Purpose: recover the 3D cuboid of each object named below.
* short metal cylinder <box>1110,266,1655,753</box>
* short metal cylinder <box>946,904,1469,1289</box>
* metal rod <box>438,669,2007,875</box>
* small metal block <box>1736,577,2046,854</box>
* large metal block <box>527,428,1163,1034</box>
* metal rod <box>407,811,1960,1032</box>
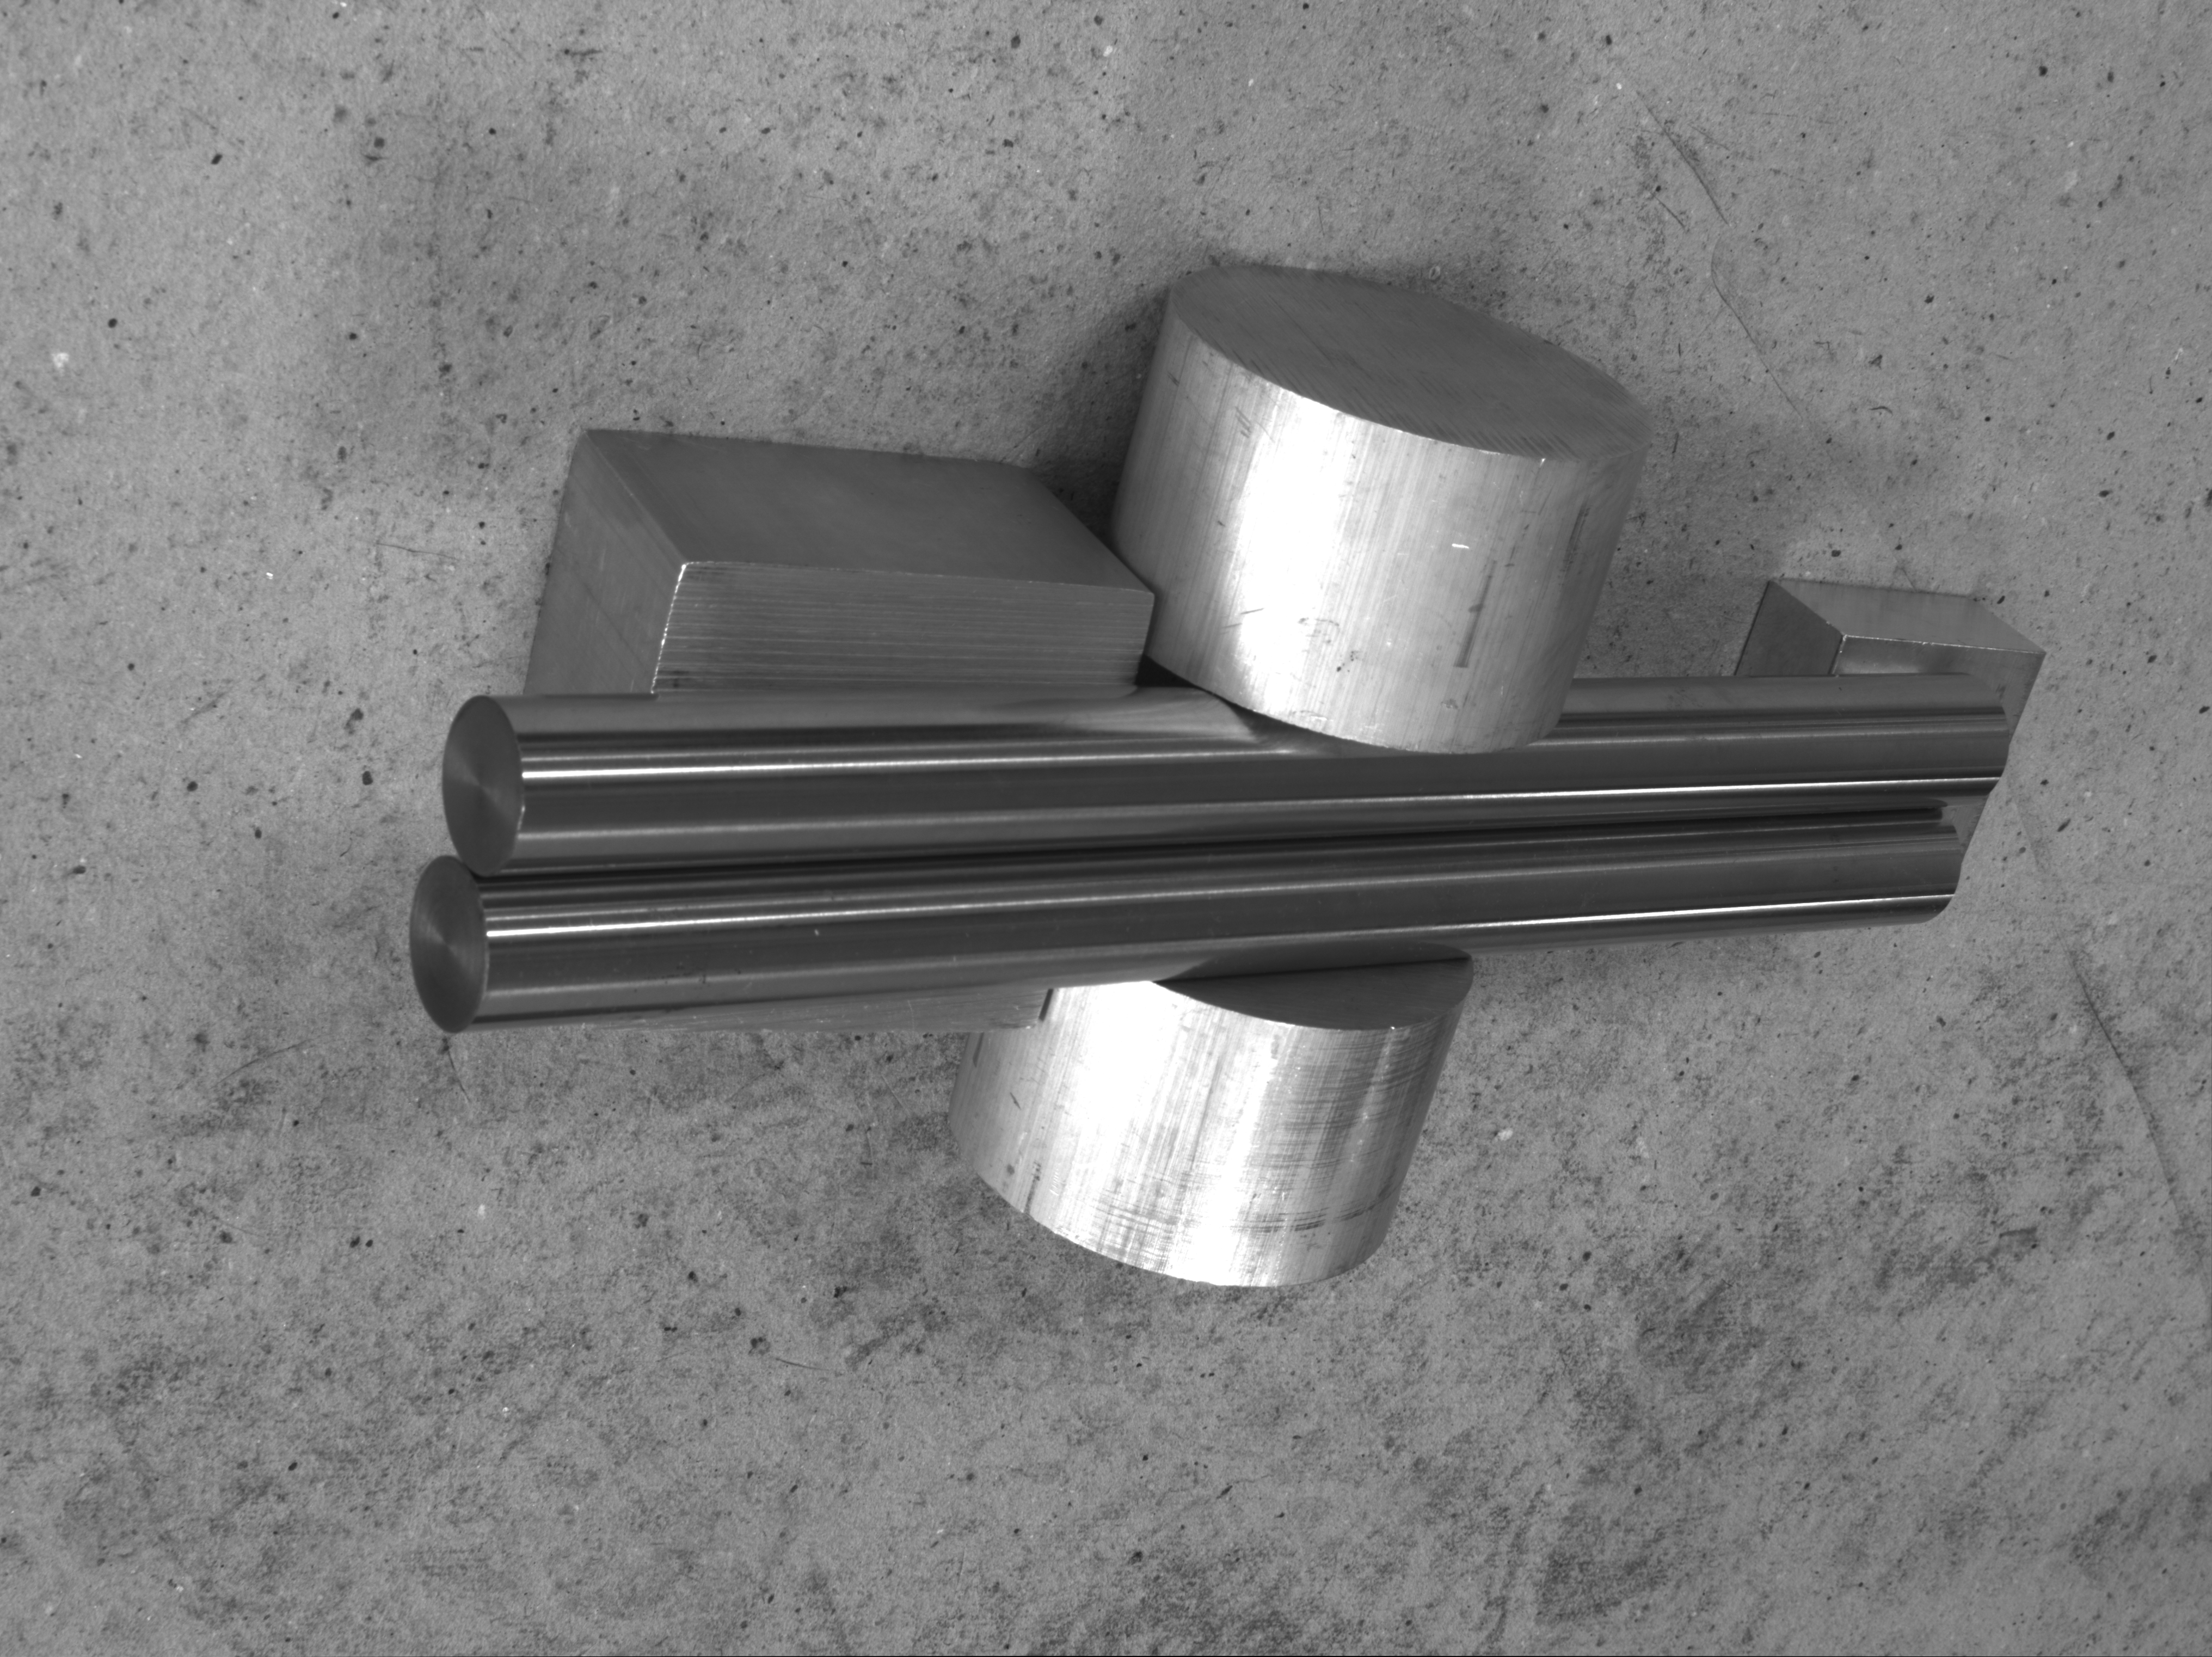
[{"bbox_3d":[0.043,-0.053,0.594,0.080,0.080,0.050,1,117,-29],"label":"short metal cylinder"},{"bbox_3d":[0.017,0.036,0.634,0.080,0.080,0.050,1,117,-29],"label":"short metal cylinder"},{"bbox_3d":[0.035,-0.012,0.593,0.301,0.025,0.025,-3,120,-36],"label":"metal rod"},{"bbox_3d":[0.145,-0.018,0.705,0.050,0.025,0.050,3,117,-29],"label":"small metal block"},{"bbox_3d":[-0.046,-0.014,0.589,0.080,0.050,0.080,2,117,-29],"label":"large metal block"},{"bbox_3d":[0.029,0.011,0.603,0.301,0.025,0.025,-3,120,-36],"label":"metal rod"}]
